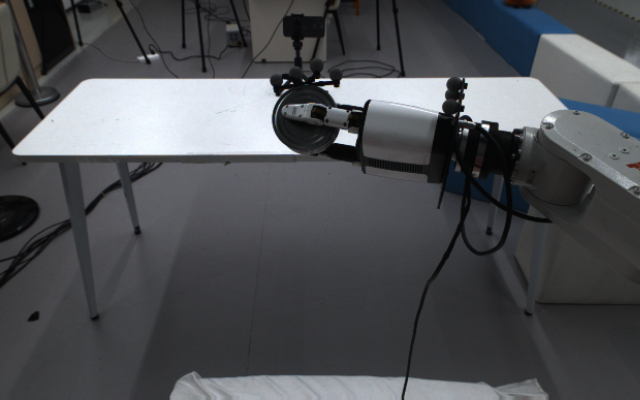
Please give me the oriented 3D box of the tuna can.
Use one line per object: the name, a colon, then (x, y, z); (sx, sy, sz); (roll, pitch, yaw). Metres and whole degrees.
tuna can: (-0.015, -0.099, 0.624); (0.085, 0.085, 0.034); (10, -6, 11)
